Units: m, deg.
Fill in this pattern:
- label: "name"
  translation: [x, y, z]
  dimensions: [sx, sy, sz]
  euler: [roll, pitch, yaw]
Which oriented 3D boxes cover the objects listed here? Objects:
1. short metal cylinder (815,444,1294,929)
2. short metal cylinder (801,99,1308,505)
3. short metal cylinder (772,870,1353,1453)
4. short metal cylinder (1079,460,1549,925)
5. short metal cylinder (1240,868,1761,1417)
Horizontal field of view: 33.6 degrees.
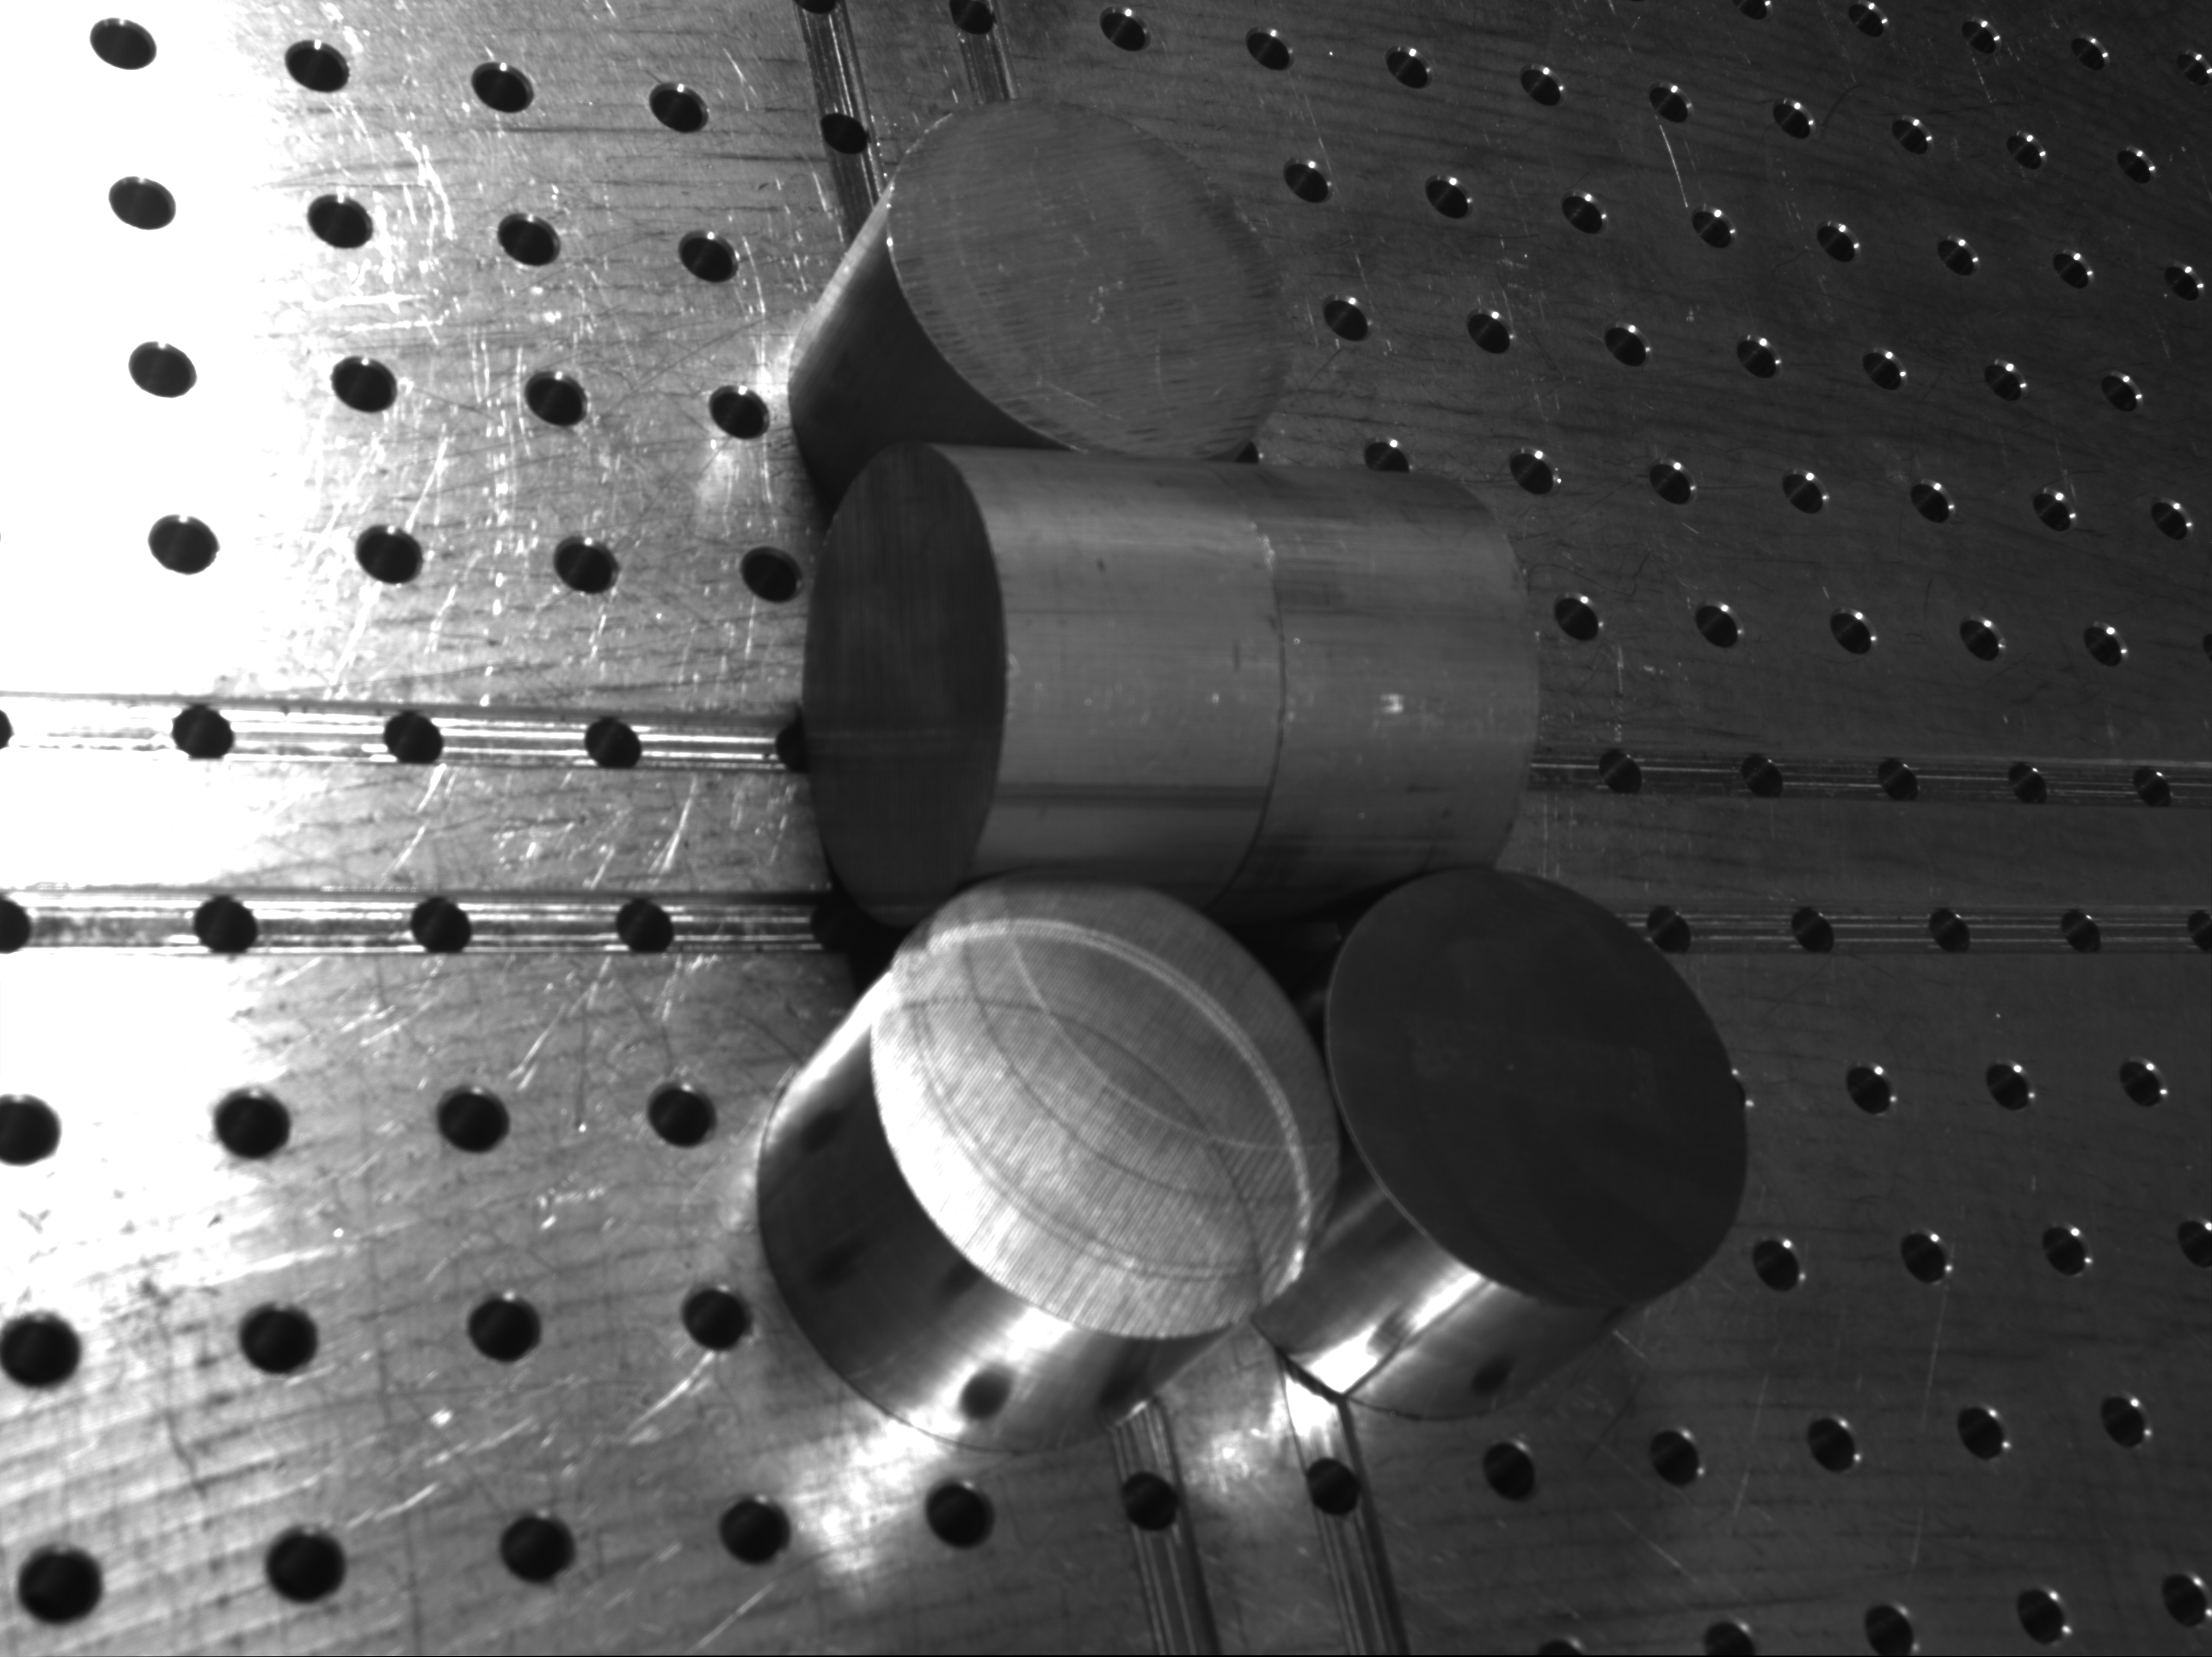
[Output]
- label: "short metal cylinder"
  translation: [-0.010, -0.023, 0.617]
  dimensions: [0.050, 0.080, 0.080]
  euler: [1, 61, -28]
- label: "short metal cylinder"
  translation: [-0.010, -0.087, 0.674]
  dimensions: [0.080, 0.050, 0.080]
  euler: [14, 56, -21]
- label: "short metal cylinder"
  translation: [-0.007, 0.054, 0.589]
  dimensions: [0.080, 0.050, 0.080]
  euler: [14, 56, -21]
- label: "short metal cylinder"
  translation: [0.034, -0.023, 0.641]
  dimensions: [0.050, 0.080, 0.080]
  euler: [1, 61, -28]
- label: "short metal cylinder"
  translation: [0.064, 0.054, 0.626]
  dimensions: [0.080, 0.050, 0.080]
  euler: [14, 56, -21]
